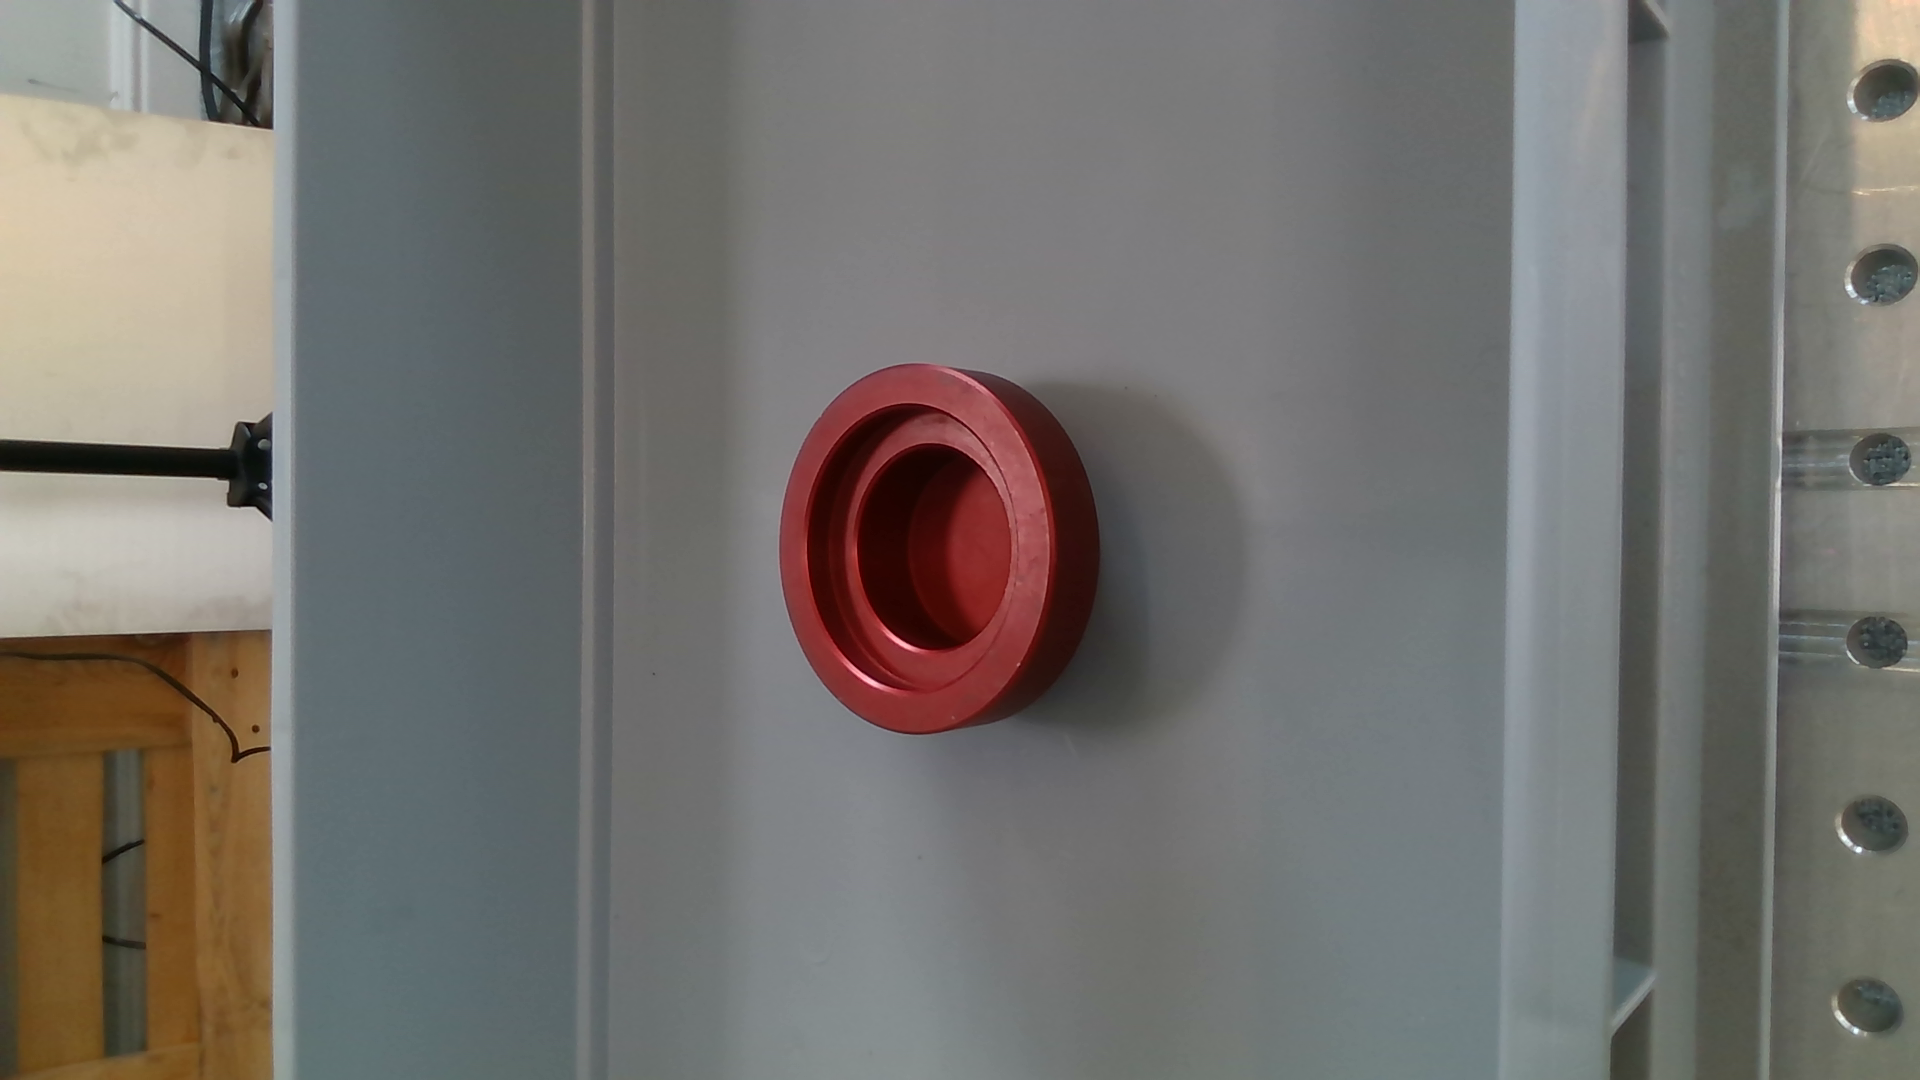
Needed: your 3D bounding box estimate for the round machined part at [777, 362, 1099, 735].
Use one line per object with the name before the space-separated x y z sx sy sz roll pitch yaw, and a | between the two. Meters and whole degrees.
round machined part | -0.002 0.002 0.377 0.098 0.042 0.098 0 91 40
